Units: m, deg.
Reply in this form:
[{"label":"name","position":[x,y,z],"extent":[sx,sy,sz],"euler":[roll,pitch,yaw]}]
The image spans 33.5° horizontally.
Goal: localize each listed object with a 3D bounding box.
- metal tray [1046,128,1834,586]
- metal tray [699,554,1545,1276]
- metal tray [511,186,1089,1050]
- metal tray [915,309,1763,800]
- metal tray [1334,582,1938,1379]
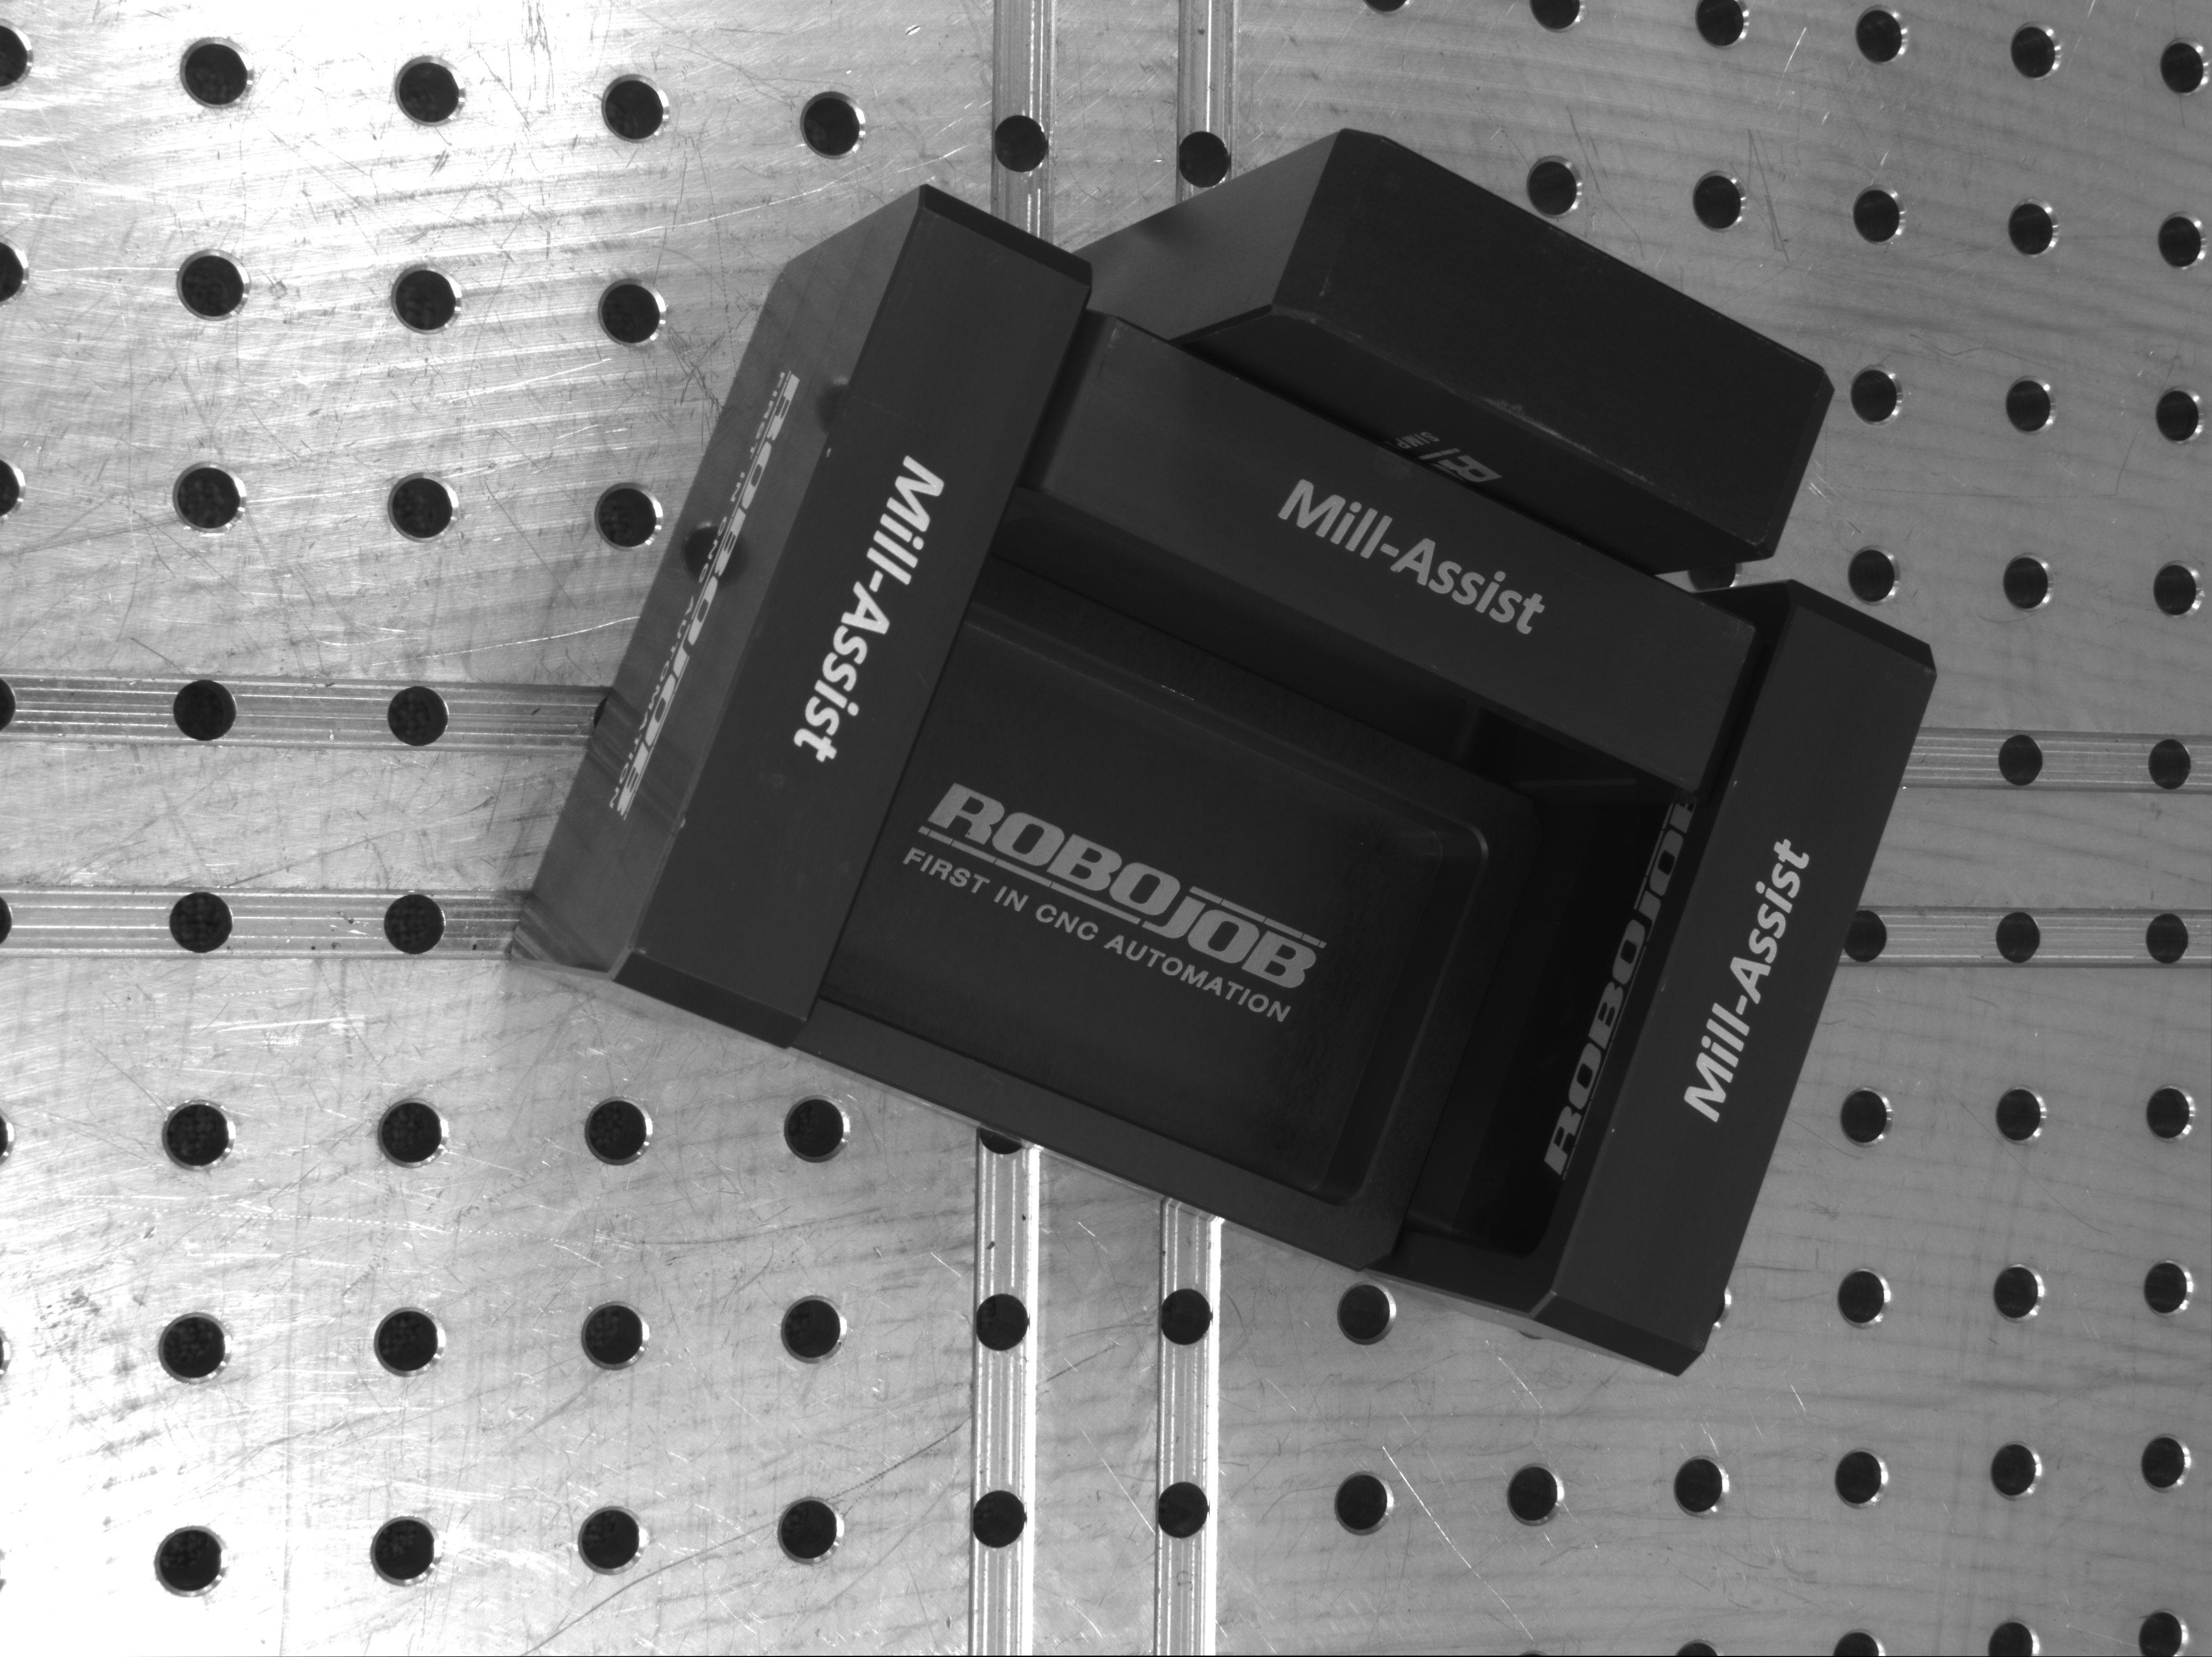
[{"label":"metal tray","position":[0.048,-0.072,0.607],"extent":[0.090,0.130,0.030],"euler":[24,82,-18]},{"label":"metal tray","position":[0.003,0.014,0.644],"extent":[0.130,0.030,0.090],"euler":[23,82,-19]},{"label":"metal tray","position":[-0.052,-0.032,0.592],"extent":[0.030,0.090,0.130],"euler":[23,82,-19]},{"label":"metal tray","position":[0.034,-0.043,0.623],"extent":[0.130,0.090,0.030],"euler":[23,83,-19]},{"label":"metal tray","position":[0.090,0.025,0.643],"extent":[0.030,0.090,0.130],"euler":[23,82,-18]}]
